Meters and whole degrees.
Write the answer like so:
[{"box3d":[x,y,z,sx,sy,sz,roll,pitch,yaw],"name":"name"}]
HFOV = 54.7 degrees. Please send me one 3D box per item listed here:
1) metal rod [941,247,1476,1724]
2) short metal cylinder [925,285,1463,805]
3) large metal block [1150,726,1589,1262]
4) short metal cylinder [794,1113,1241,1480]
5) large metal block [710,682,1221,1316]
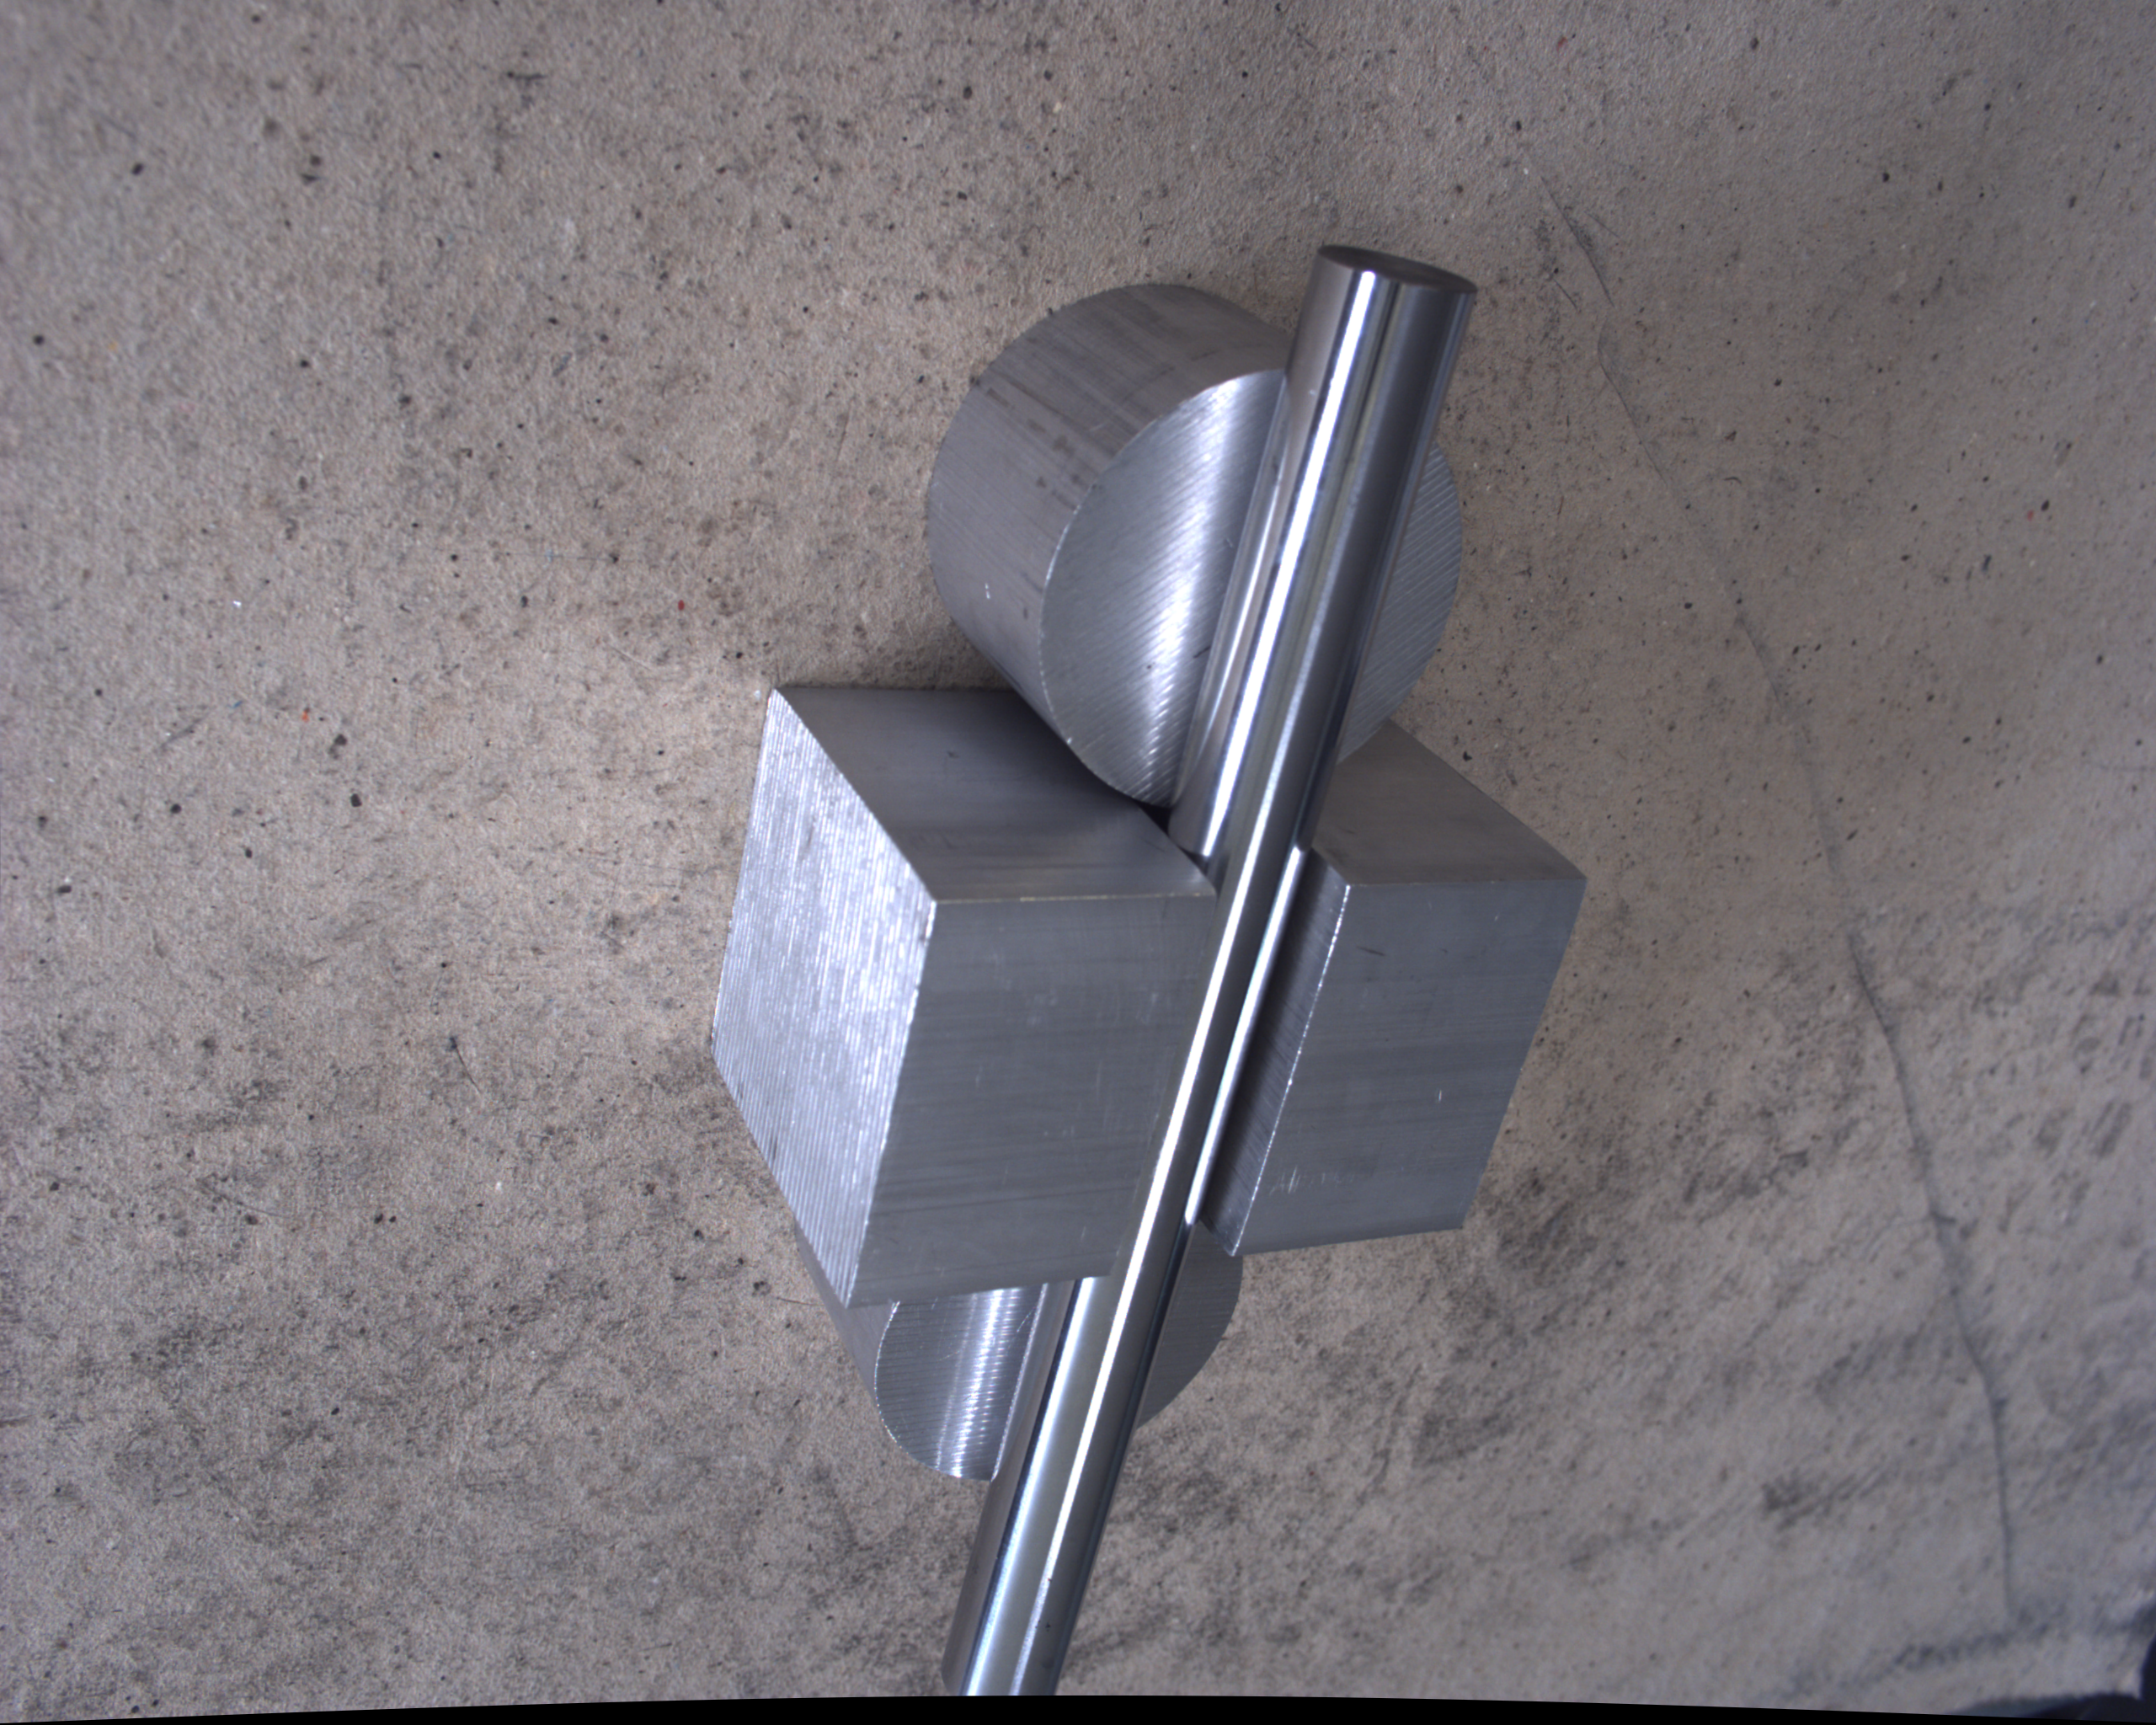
[{"box3d":[0.016,0.041,0.377,0.025,0.025,0.298,-1,119,-28],"name":"metal rod"},{"box3d":[0.020,-0.056,0.368,0.081,0.050,0.079,-14,124,-21],"name":"short metal cylinder"},{"box3d":[0.044,0.019,0.408,0.050,0.080,0.079,-1,119,-28],"name":"large metal block"},{"box3d":[-0.013,0.081,0.436,0.081,0.050,0.079,-14,124,-21],"name":"short metal cylinder"},{"box3d":[-0.024,0.021,0.372,0.050,0.080,0.079,-1,119,-28],"name":"large metal block"}]
